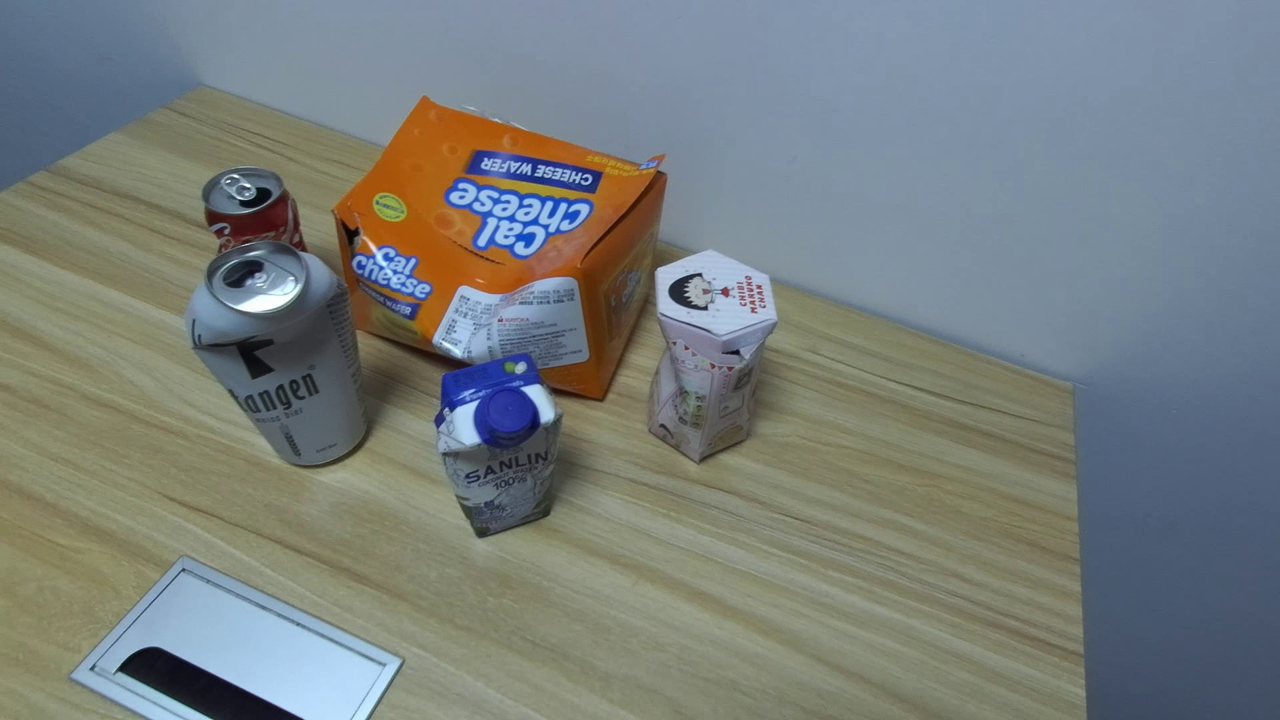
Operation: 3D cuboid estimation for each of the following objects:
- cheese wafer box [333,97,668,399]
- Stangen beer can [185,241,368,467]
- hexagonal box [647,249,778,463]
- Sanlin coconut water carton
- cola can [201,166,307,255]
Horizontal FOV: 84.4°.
[{"bbox_3d":[-0.109,-0.083,0.563,0.219,0.145,0.191,16,48,6],"label":"cheese wafer box"},{"bbox_3d":[-0.225,0.002,0.452,0.066,0.162,0.077,10,49,2],"label":"Stangen beer can"},{"bbox_3d":[0.046,0.001,0.515,0.090,0.134,0.091,34,53,25],"label":"hexagonal box"},{"bbox_3d":[-0.088,0.055,0.446,0.078,0.142,0.057,-16,57,-21],"label":"Sanlin coconut water carton"},{"bbox_3d":[-0.296,-0.091,0.553,0.066,0.117,0.065,-13,53,-19],"label":"cola can"}]
